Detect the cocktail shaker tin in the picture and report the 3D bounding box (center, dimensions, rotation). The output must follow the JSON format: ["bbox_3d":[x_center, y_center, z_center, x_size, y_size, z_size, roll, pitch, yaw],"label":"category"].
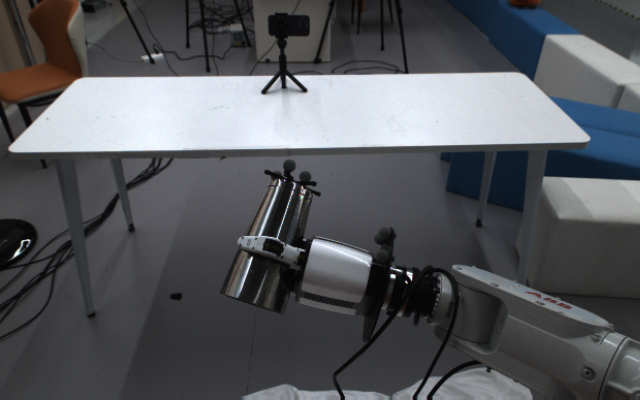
[{"bbox_3d":[-0.068,0.061,0.667,0.093,0.093,0.170,14,73,17],"label":"cocktail shaker tin"}]
